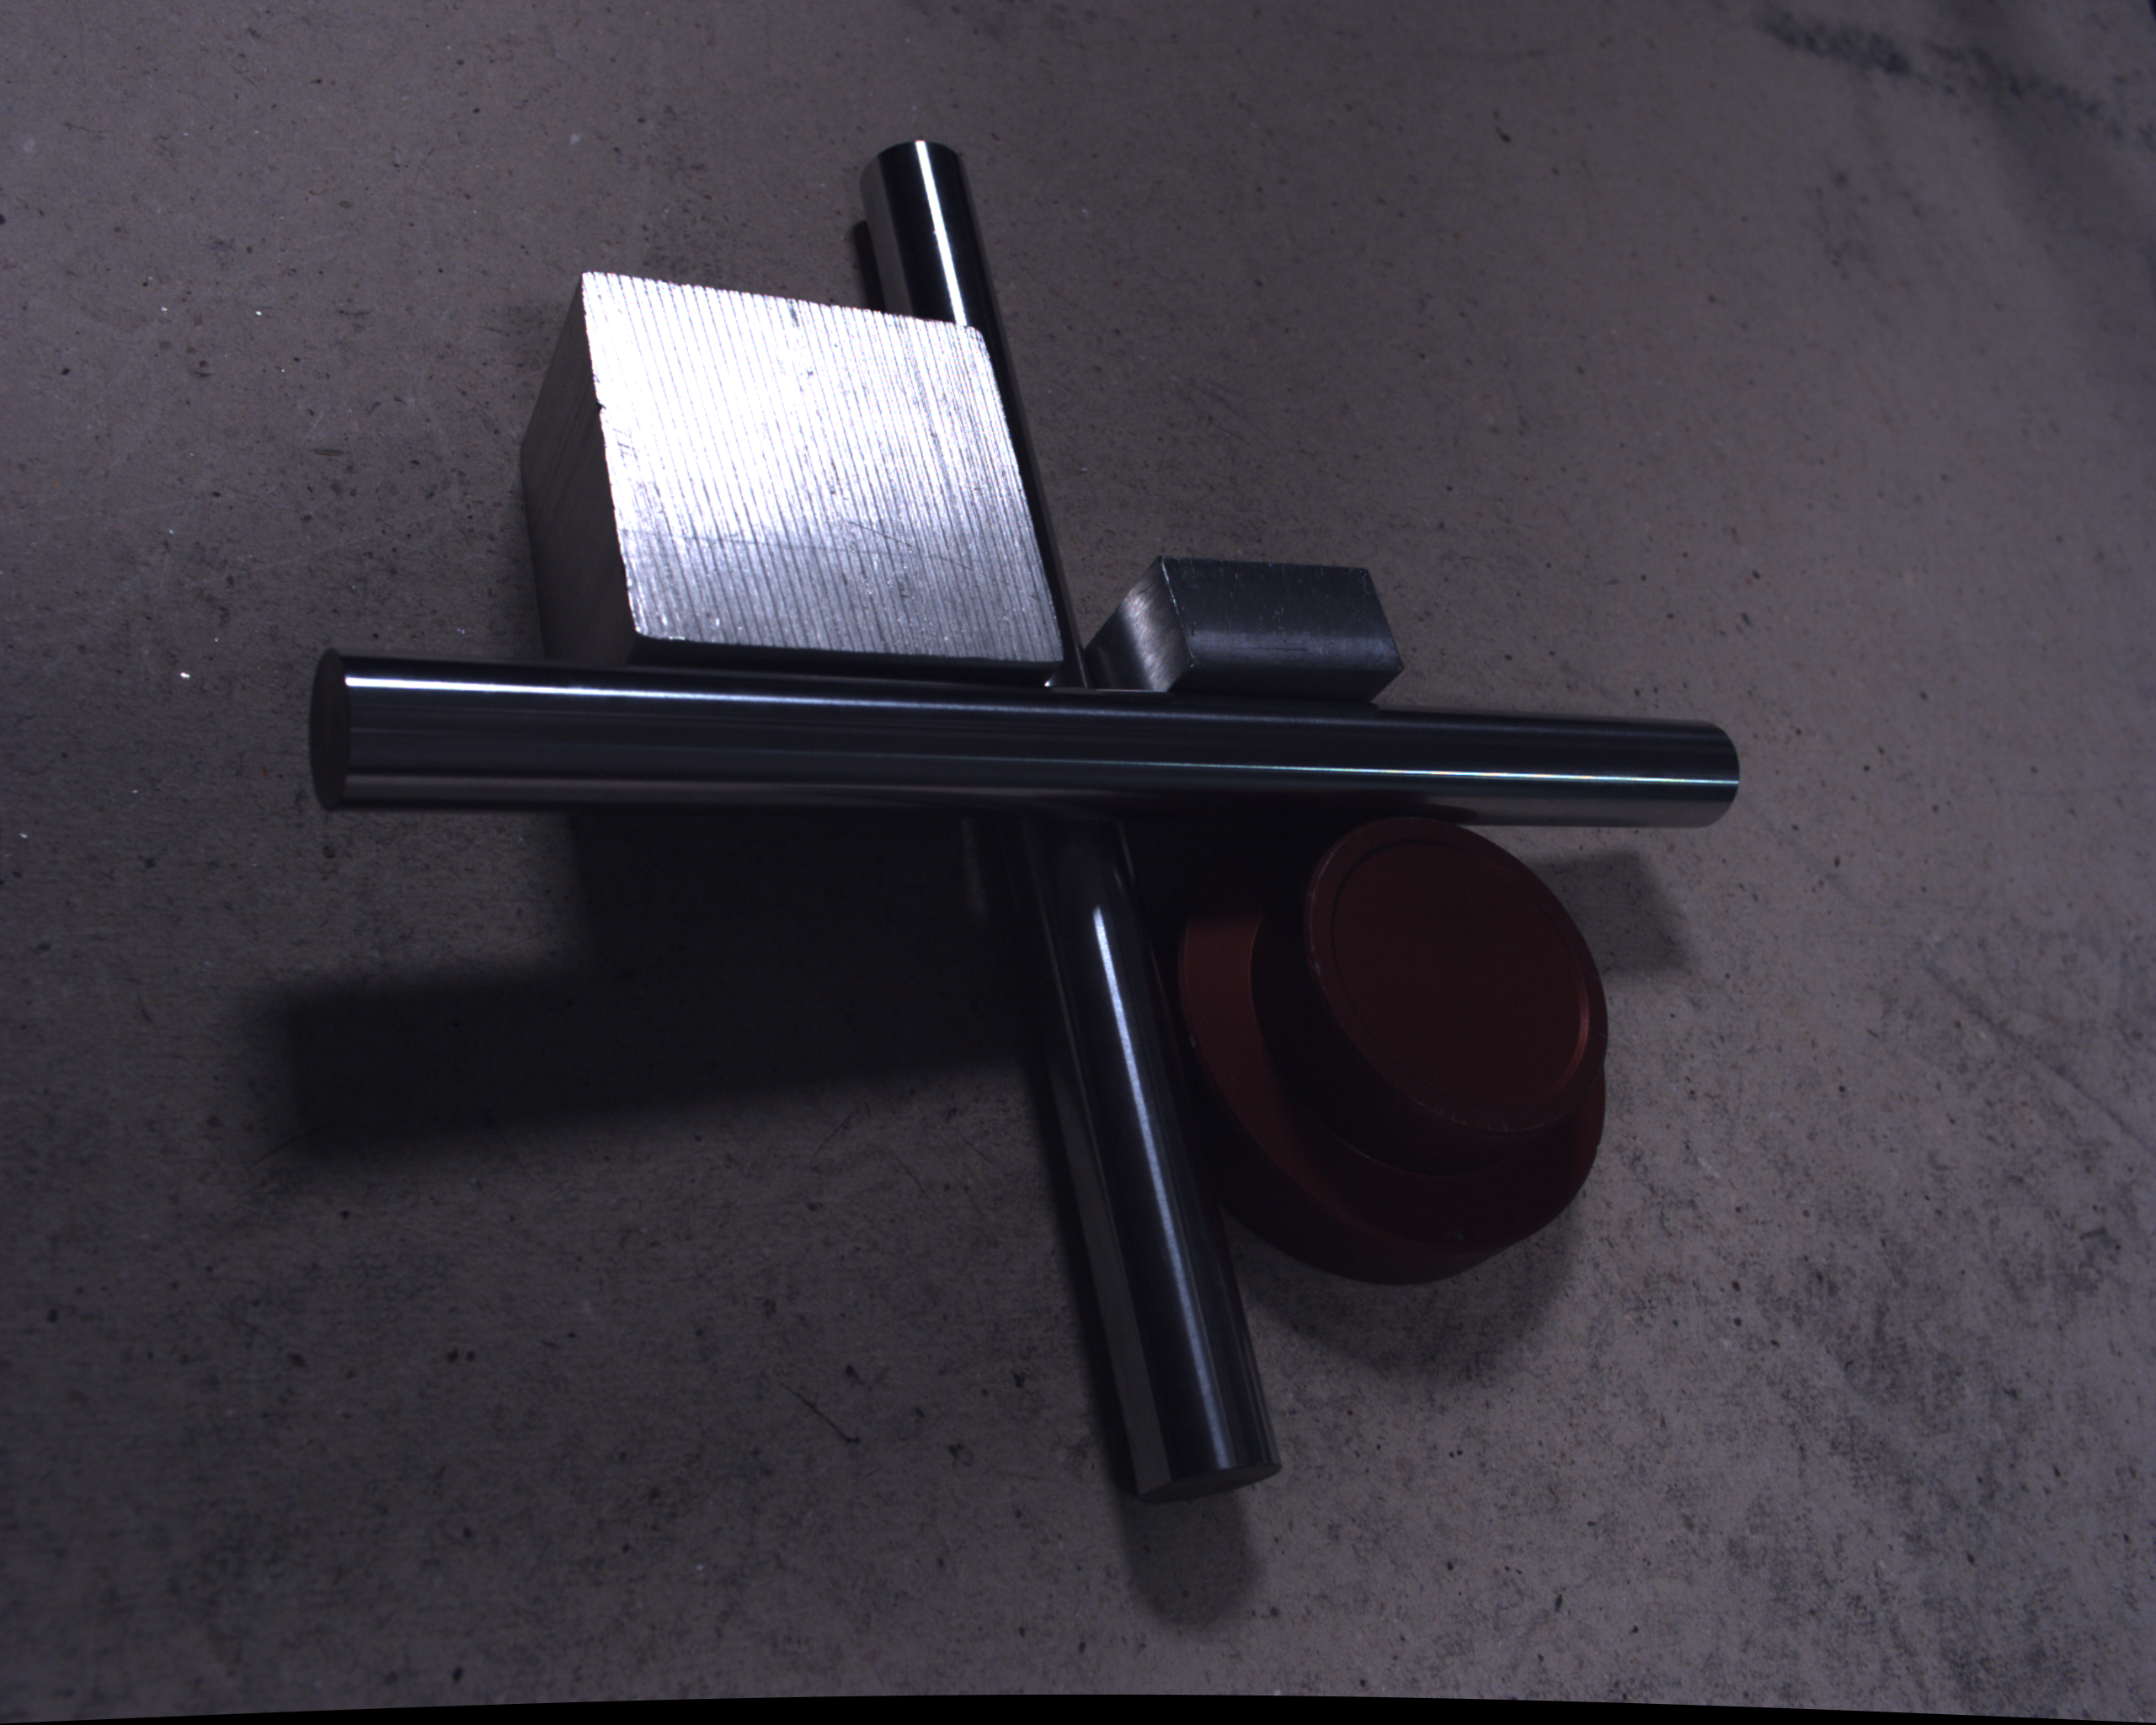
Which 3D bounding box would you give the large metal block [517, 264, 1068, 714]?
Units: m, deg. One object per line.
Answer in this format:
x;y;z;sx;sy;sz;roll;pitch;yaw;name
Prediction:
-0.057;-0.060;0.396;0.081;0.050;0.080;1;62;-28;large metal block

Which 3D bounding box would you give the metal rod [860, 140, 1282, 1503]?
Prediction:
-0.008;-0.026;0.418;0.025;0.025;0.299;2;61;-28;metal rod

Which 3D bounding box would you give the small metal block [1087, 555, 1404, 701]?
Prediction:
0.030;-0.038;0.430;0.050;0.050;0.025;-1;63;-29;small metal block

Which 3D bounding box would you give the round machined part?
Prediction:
0.064;0.030;0.411;0.099;0.042;0.098;14;56;-21;round machined part

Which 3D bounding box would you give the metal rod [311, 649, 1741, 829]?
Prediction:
0.015;-0.020;0.395;0.303;0.025;0.025;0;62;-33;metal rod
